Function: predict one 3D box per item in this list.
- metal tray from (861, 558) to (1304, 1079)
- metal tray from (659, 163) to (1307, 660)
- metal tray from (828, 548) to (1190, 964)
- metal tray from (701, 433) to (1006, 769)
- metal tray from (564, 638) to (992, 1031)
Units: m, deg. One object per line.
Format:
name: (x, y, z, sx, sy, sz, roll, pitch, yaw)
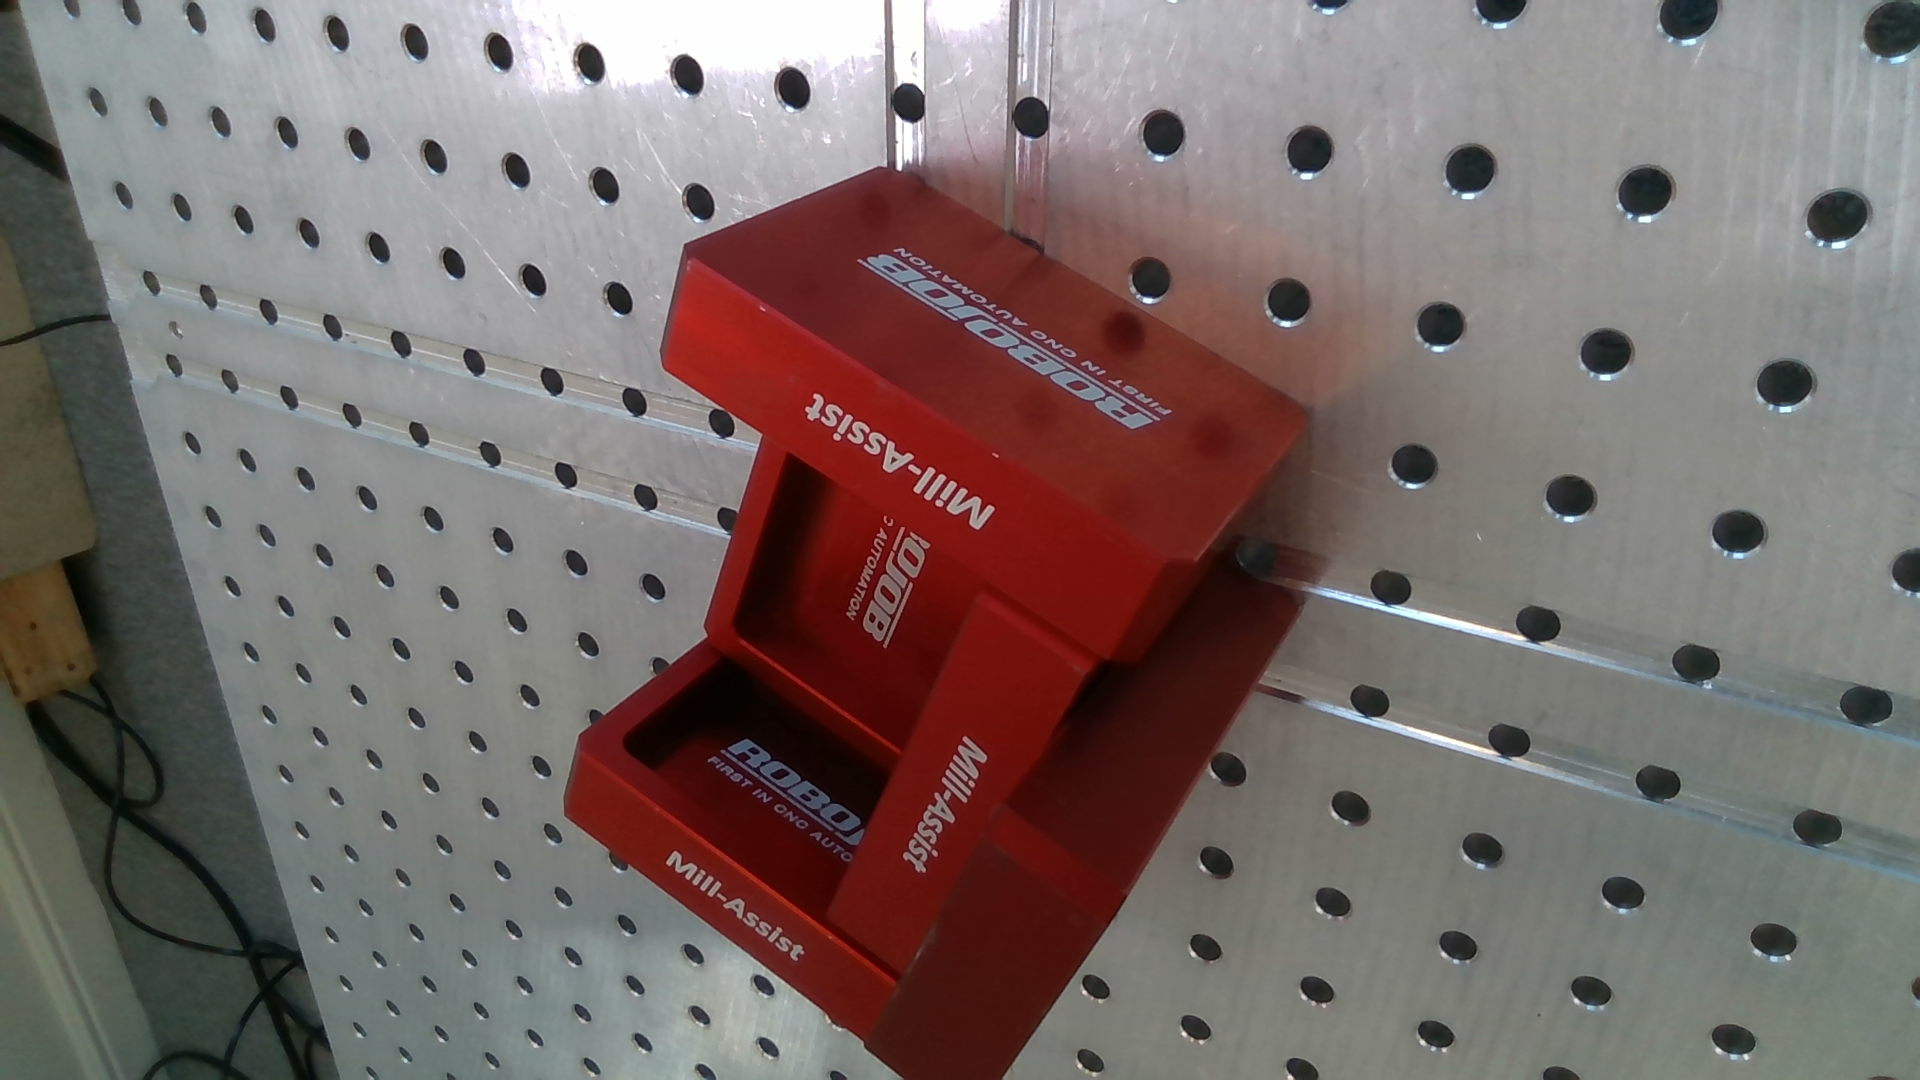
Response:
metal tray: (0.033, 0.067, 0.339, 0.030, 0.130, 0.090, 34, 128, 12)
metal tray: (0.007, -0.037, 0.324, 0.130, 0.090, 0.030, 33, 128, 12)
metal tray: (0.017, 0.045, 0.363, 0.030, 0.090, 0.130, 33, 128, 13)
metal tray: (-0.019, 0.001, 0.400, 0.090, 0.030, 0.130, 33, 128, 12)
metal tray: (-0.042, 0.084, 0.420, 0.130, 0.090, 0.030, 33, 128, 12)
